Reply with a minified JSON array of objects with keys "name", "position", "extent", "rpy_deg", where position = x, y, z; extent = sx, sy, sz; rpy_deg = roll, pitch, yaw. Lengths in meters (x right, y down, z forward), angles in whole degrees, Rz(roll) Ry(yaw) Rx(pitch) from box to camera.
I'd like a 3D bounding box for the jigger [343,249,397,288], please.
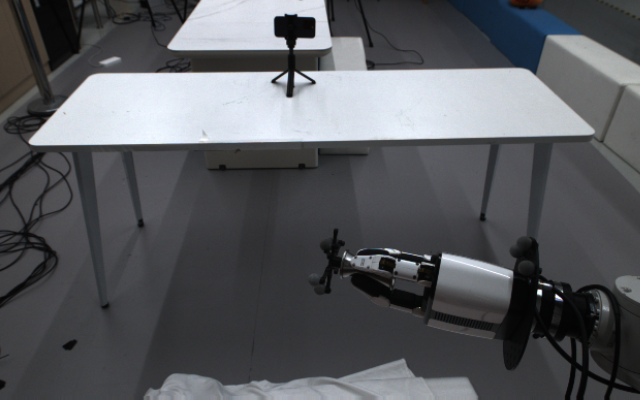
[{"name":"jigger","position":[0.070,0.086,0.628],"extent":[0.071,0.043,0.043],"rpy_deg":[10,35,16]}]
